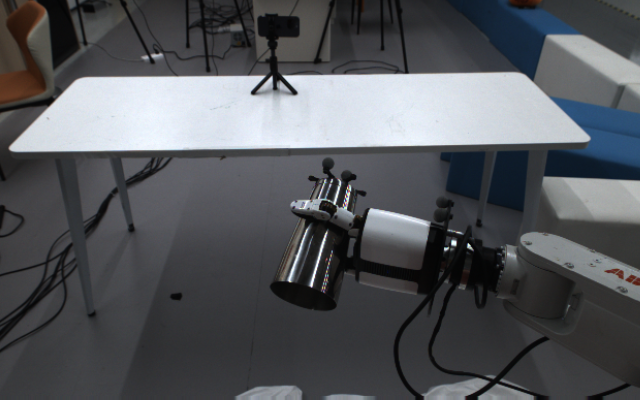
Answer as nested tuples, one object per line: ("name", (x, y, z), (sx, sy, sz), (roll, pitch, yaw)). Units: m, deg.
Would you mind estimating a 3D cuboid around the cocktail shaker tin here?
("cocktail shaker tin", (0.001, 0.056, 0.669), (0.093, 0.093, 0.170), (11, 60, 12))
